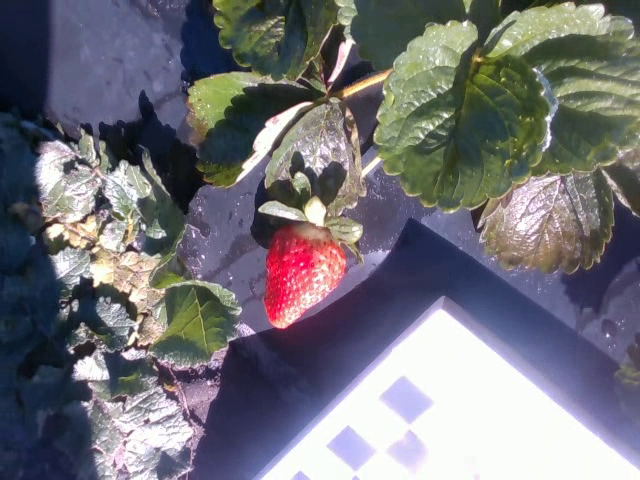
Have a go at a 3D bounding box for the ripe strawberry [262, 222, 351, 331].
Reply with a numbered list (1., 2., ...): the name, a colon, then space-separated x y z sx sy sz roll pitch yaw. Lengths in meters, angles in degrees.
1. ripe strawberry: -0.012 0.021 0.319 0.048 0.068 0.040 25 18 9
